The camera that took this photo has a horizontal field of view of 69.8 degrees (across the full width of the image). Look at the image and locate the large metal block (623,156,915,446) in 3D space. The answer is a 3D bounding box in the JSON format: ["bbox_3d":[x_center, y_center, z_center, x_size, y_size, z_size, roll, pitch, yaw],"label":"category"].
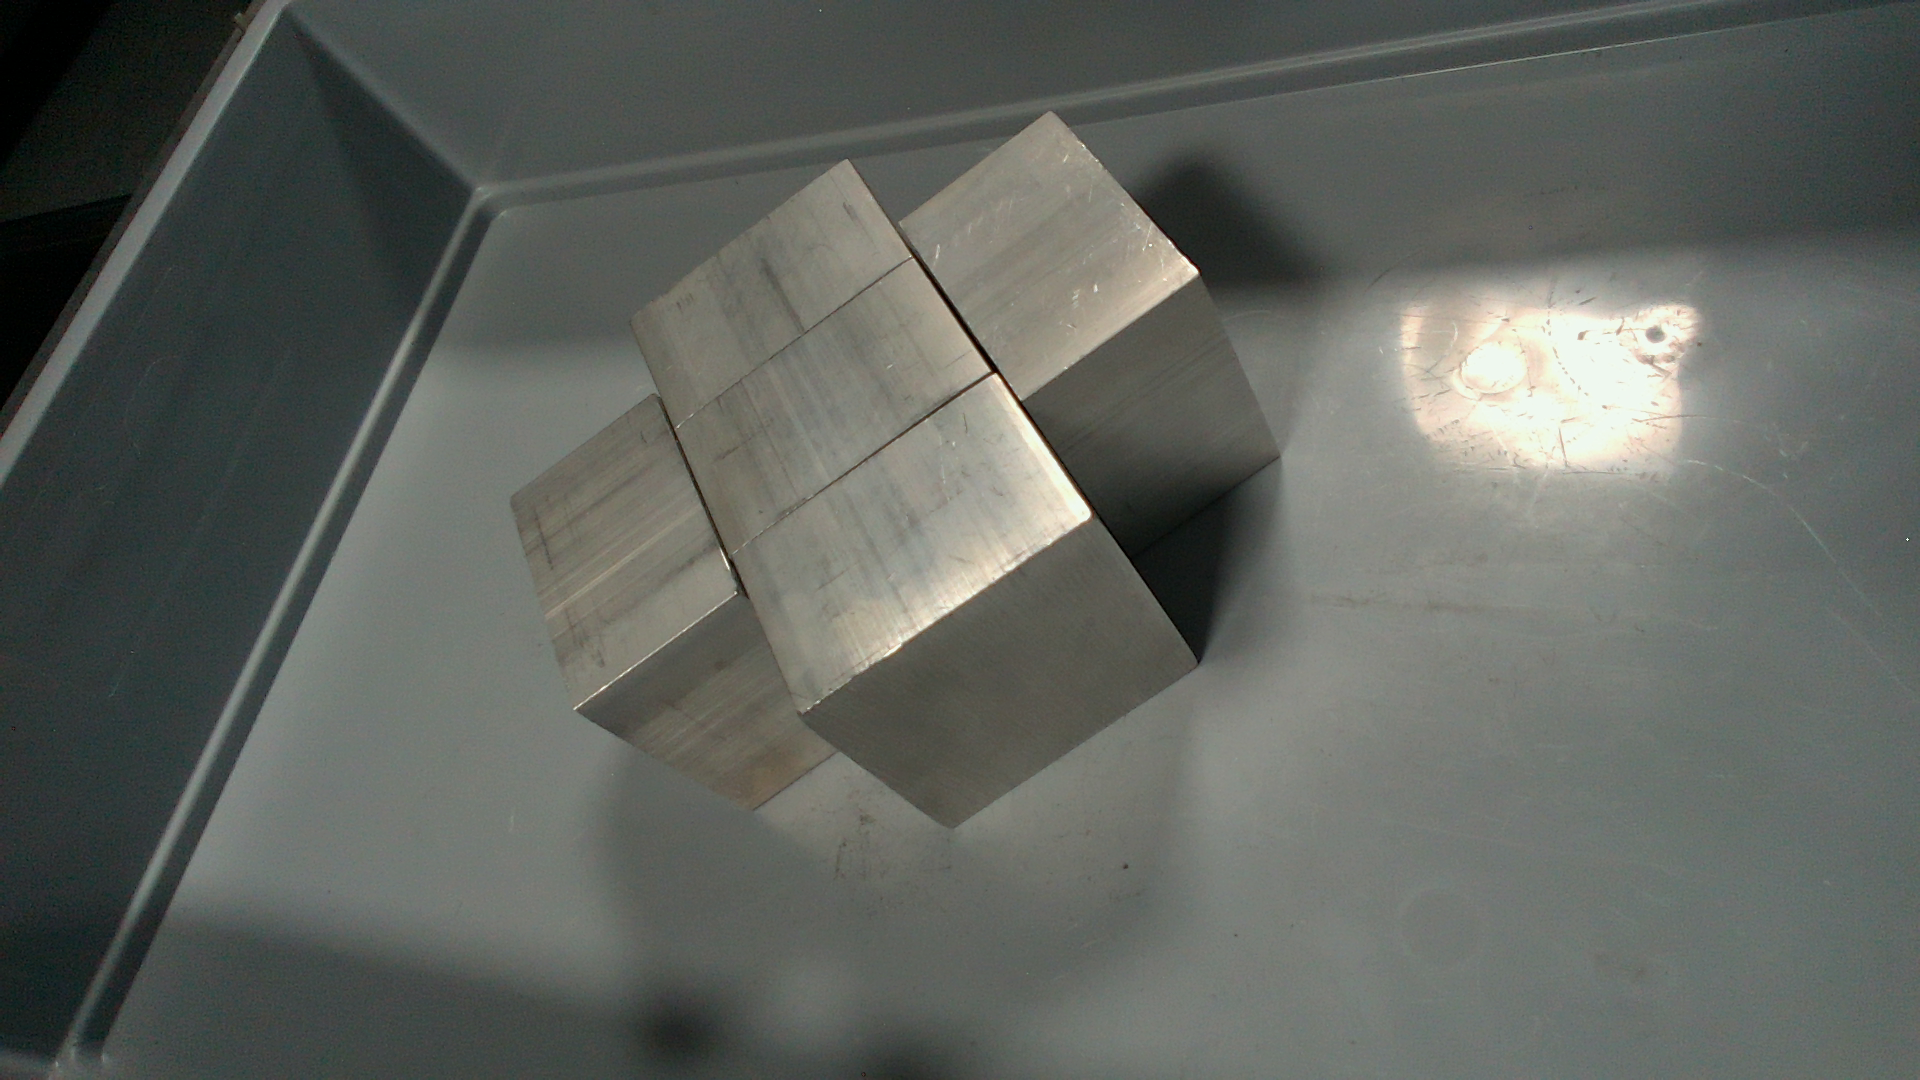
[{"bbox_3d":[-0.038,-0.050,0.408,0.080,0.080,0.050,-35,51,5],"label":"large metal block"}]

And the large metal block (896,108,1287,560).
[{"bbox_3d":[0.036,-0.054,0.372,0.050,0.080,0.080,-35,51,5],"label":"large metal block"}]

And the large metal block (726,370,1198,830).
[{"bbox_3d":[0.003,0.018,0.346,0.080,0.080,0.050,-35,51,5],"label":"large metal block"}]

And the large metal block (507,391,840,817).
[{"bbox_3d":[-0.072,0.019,0.385,0.050,0.080,0.080,-35,51,5],"label":"large metal block"}]

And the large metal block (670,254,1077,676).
[{"bbox_3d":[-0.018,-0.016,0.377,0.080,0.080,0.050,-35,51,5],"label":"large metal block"}]
